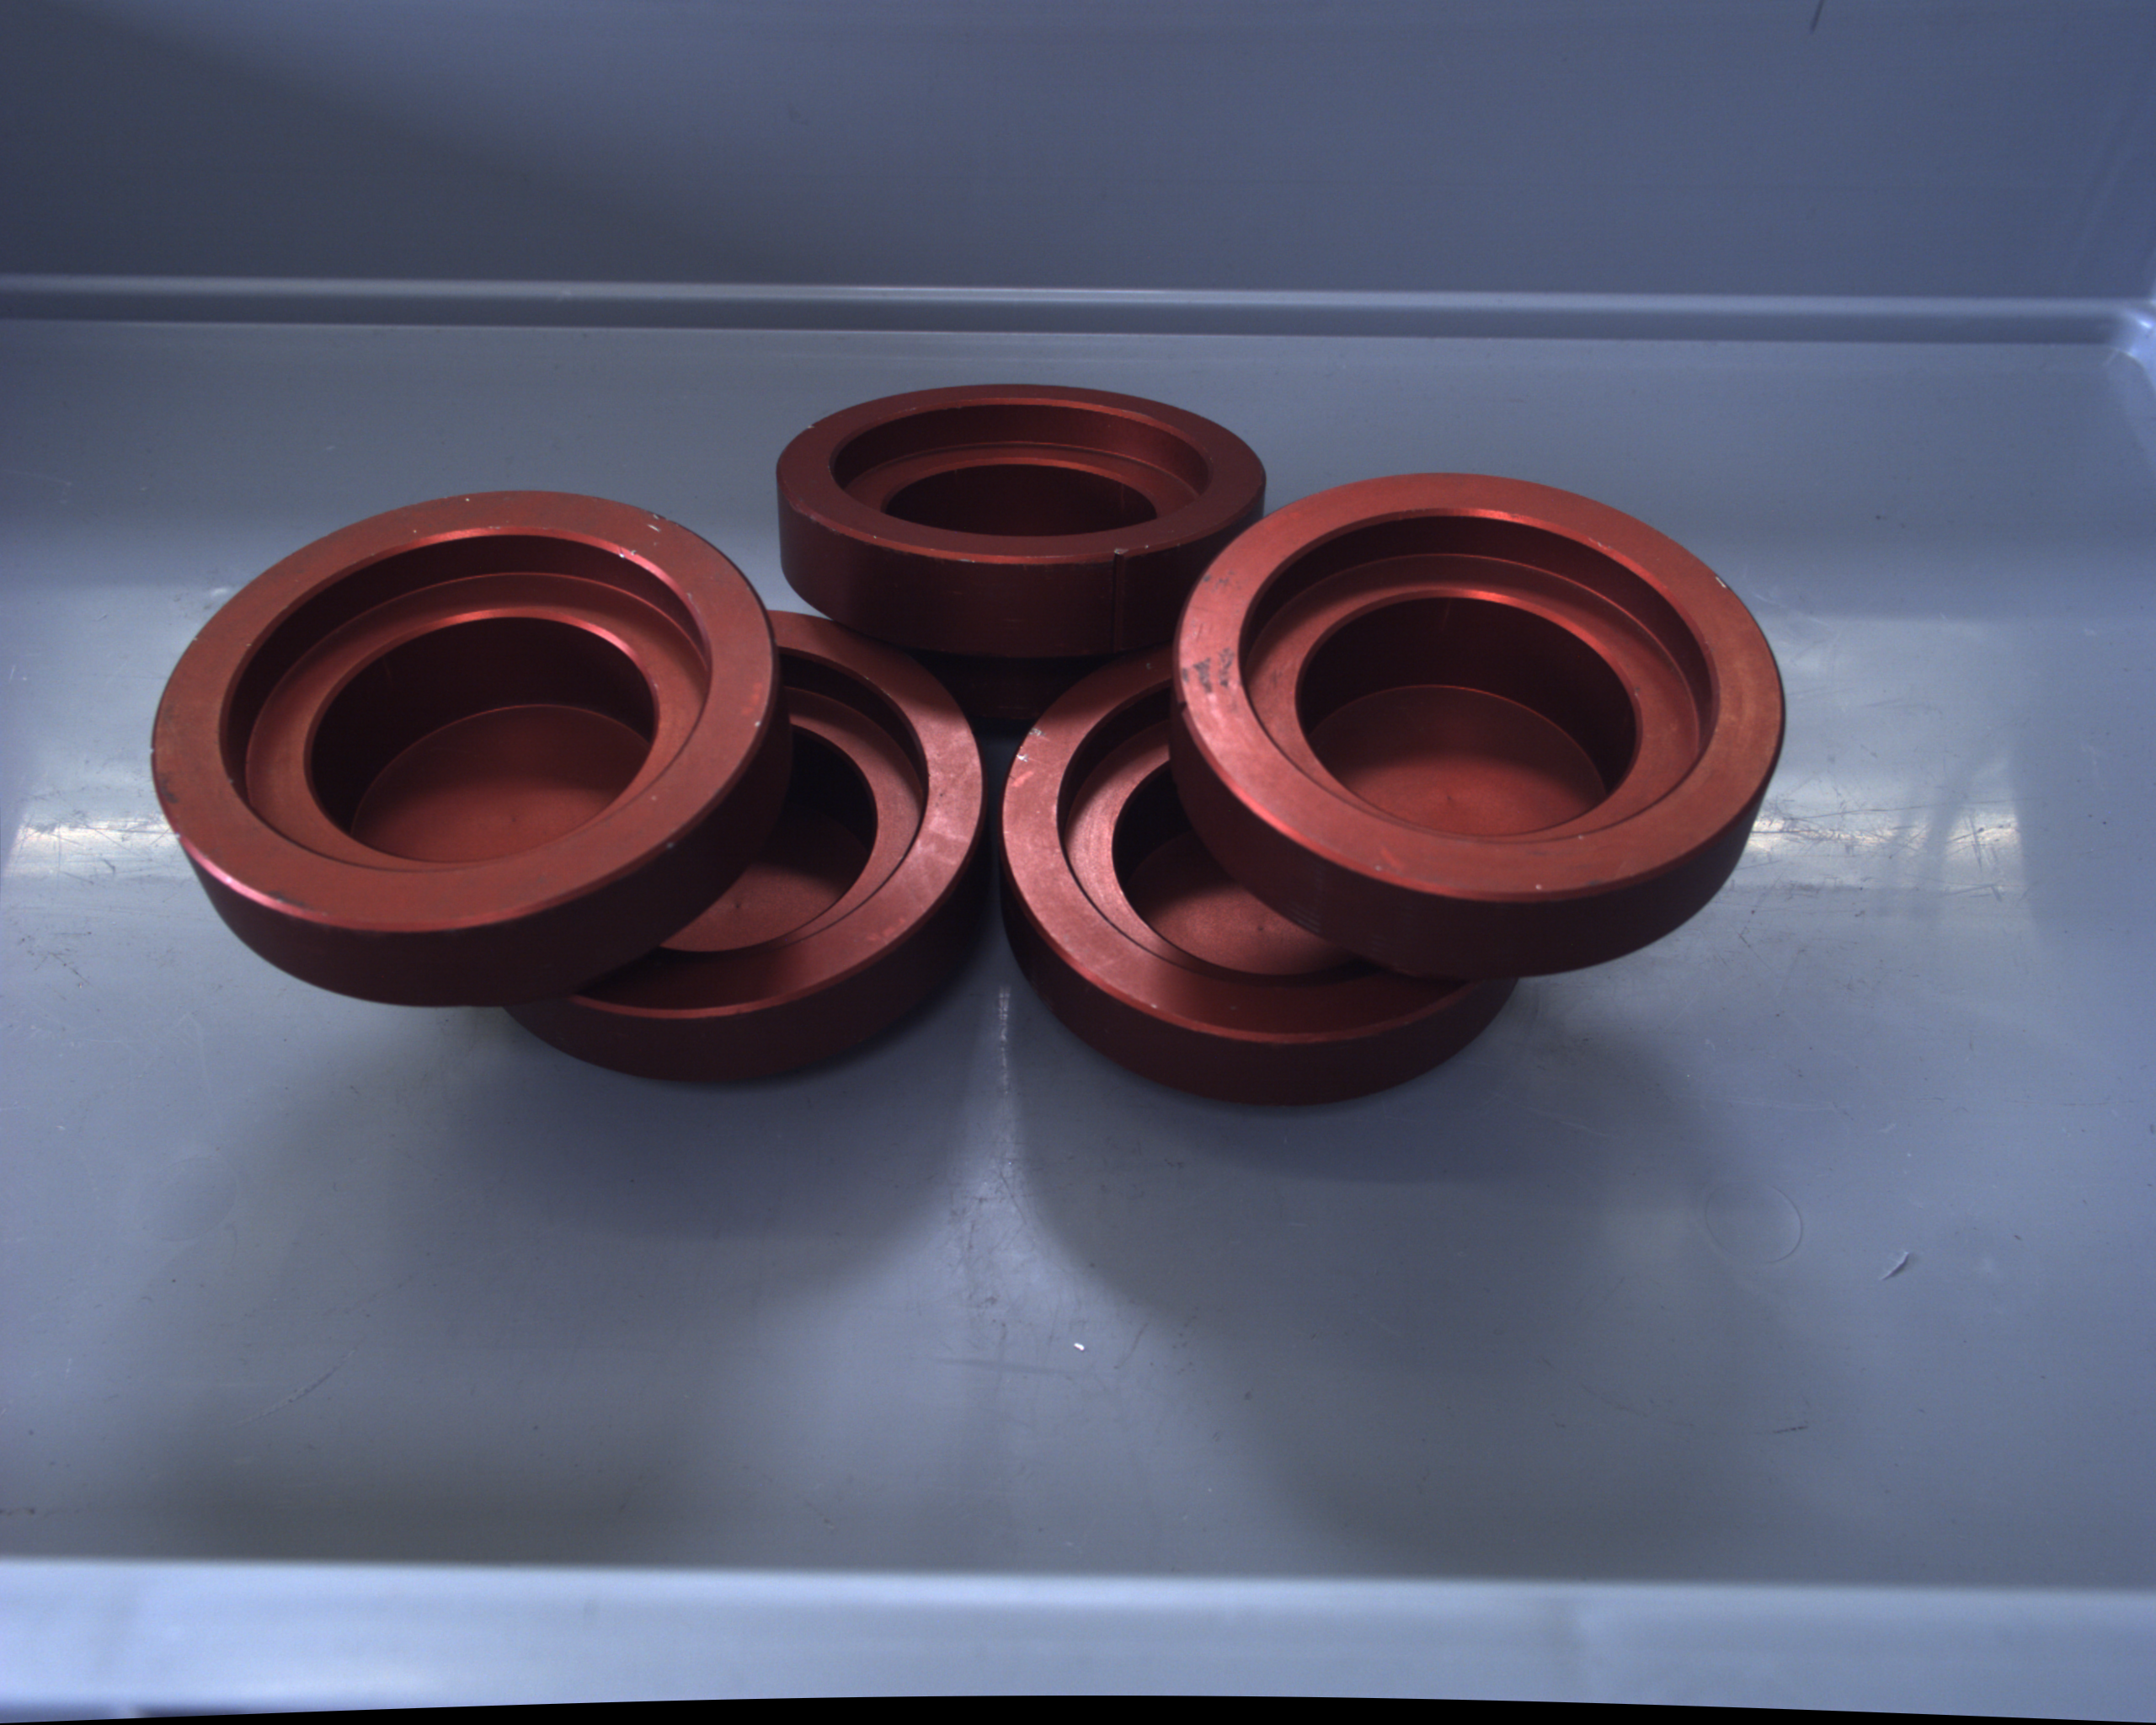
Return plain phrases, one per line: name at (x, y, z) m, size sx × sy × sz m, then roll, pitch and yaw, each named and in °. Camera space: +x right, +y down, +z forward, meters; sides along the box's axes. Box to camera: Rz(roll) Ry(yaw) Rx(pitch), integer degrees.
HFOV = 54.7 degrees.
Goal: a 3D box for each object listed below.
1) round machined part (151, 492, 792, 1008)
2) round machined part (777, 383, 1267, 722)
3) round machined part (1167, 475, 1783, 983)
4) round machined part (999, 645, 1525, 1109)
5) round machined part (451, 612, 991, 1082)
round machined part at (-0.097, -0.015, 0.350) m, size 0.099 × 0.042 × 0.098 m, roll 0°, pitch 50°, yaw 0°
round machined part at (-0.012, -0.063, 0.432) m, size 0.099 × 0.042 × 0.098 m, roll 1°, pitch 32°, yaw -1°
round machined part at (0.064, -0.019, 0.354) m, size 0.099 × 0.042 × 0.098 m, roll 0°, pitch 50°, yaw 0°
round machined part at (0.035, 0.005, 0.388) m, size 0.099 × 0.042 × 0.098 m, roll 0°, pitch 50°, yaw 0°
round machined part at (-0.065, 0.001, 0.391) m, size 0.099 × 0.042 × 0.098 m, roll 0°, pitch 50°, yaw 0°
